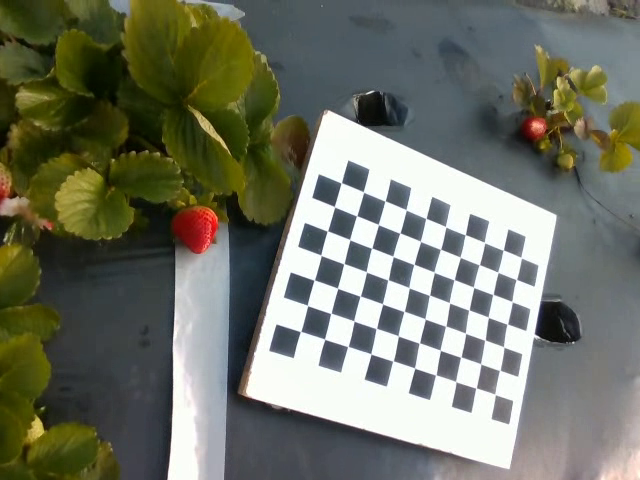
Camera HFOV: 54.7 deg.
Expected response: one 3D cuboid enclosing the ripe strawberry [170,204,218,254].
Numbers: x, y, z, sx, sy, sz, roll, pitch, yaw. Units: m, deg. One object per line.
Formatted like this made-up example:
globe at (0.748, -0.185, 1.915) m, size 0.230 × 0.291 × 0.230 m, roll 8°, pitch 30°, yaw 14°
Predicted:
ripe strawberry at (-0.097, -0.007, 0.494) m, size 0.050 × 0.055 × 0.035 m, roll 16°, pitch -30°, yaw -27°
